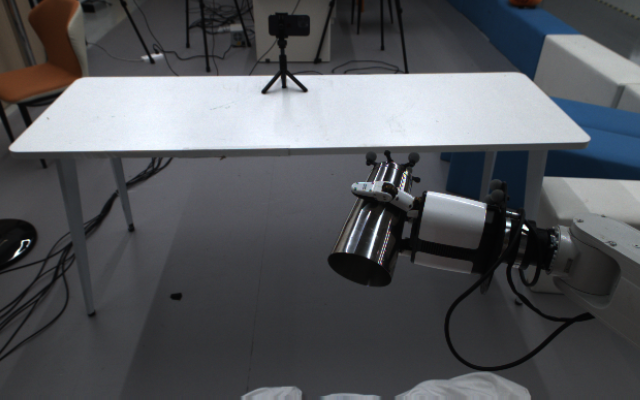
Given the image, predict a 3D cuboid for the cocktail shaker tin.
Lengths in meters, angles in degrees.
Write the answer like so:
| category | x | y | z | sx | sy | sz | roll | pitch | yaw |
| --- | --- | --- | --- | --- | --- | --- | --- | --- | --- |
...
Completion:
| category | x | y | z | sx | sy | sz | roll | pitch | yaw |
| --- | --- | --- | --- | --- | --- | --- | --- | --- | --- |
| cocktail shaker tin | 0.081 | 0.027 | 0.699 | 0.093 | 0.093 | 0.170 | 14 | 57 | 16 |
